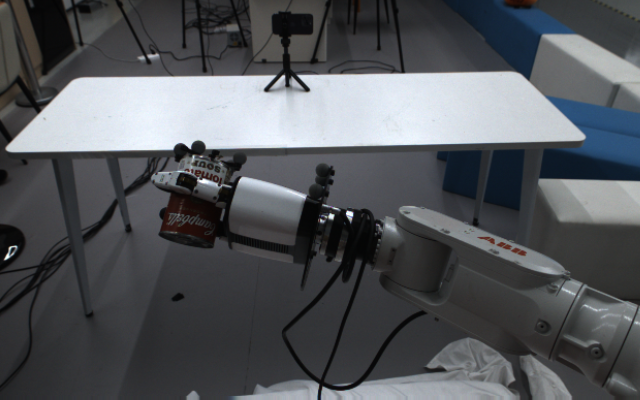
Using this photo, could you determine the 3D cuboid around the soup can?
[{"bbox_3d":[-0.153,0.004,0.600,0.067,0.067,0.101,8,72,8],"label":"soup can"}]
